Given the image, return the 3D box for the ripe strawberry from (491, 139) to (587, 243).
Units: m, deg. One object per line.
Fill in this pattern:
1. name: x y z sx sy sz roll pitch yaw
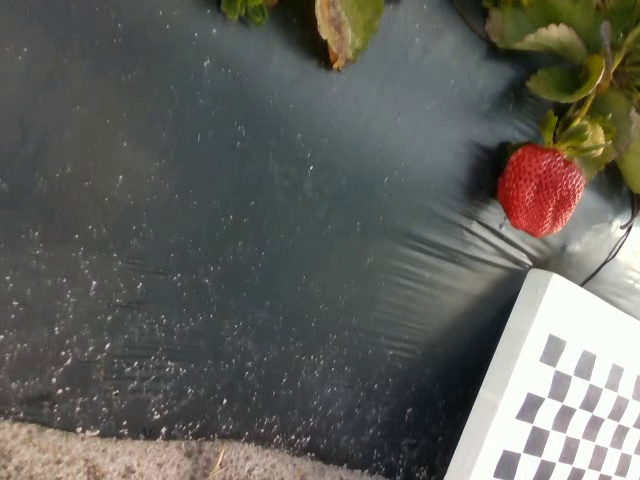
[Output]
1. ripe strawberry: 0.155 -0.034 0.374 0.067 0.075 0.039 29 -7 -28
